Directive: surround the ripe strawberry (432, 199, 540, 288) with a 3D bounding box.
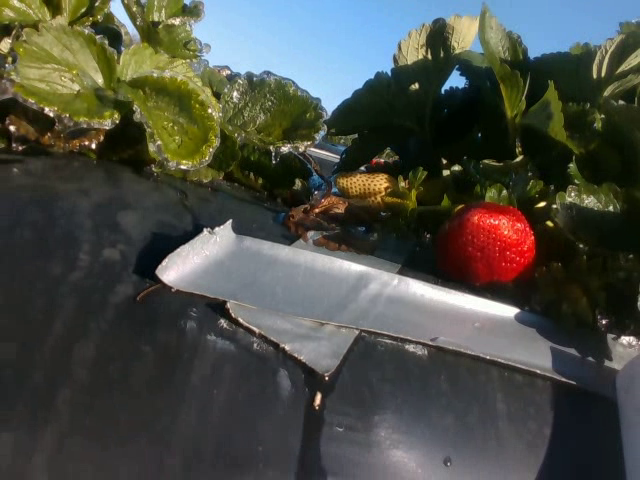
[{"bbox_3d":[0.087,0.000,0.318,0.057,0.062,0.065,-43,-22,2],"label":"ripe strawberry"}]
